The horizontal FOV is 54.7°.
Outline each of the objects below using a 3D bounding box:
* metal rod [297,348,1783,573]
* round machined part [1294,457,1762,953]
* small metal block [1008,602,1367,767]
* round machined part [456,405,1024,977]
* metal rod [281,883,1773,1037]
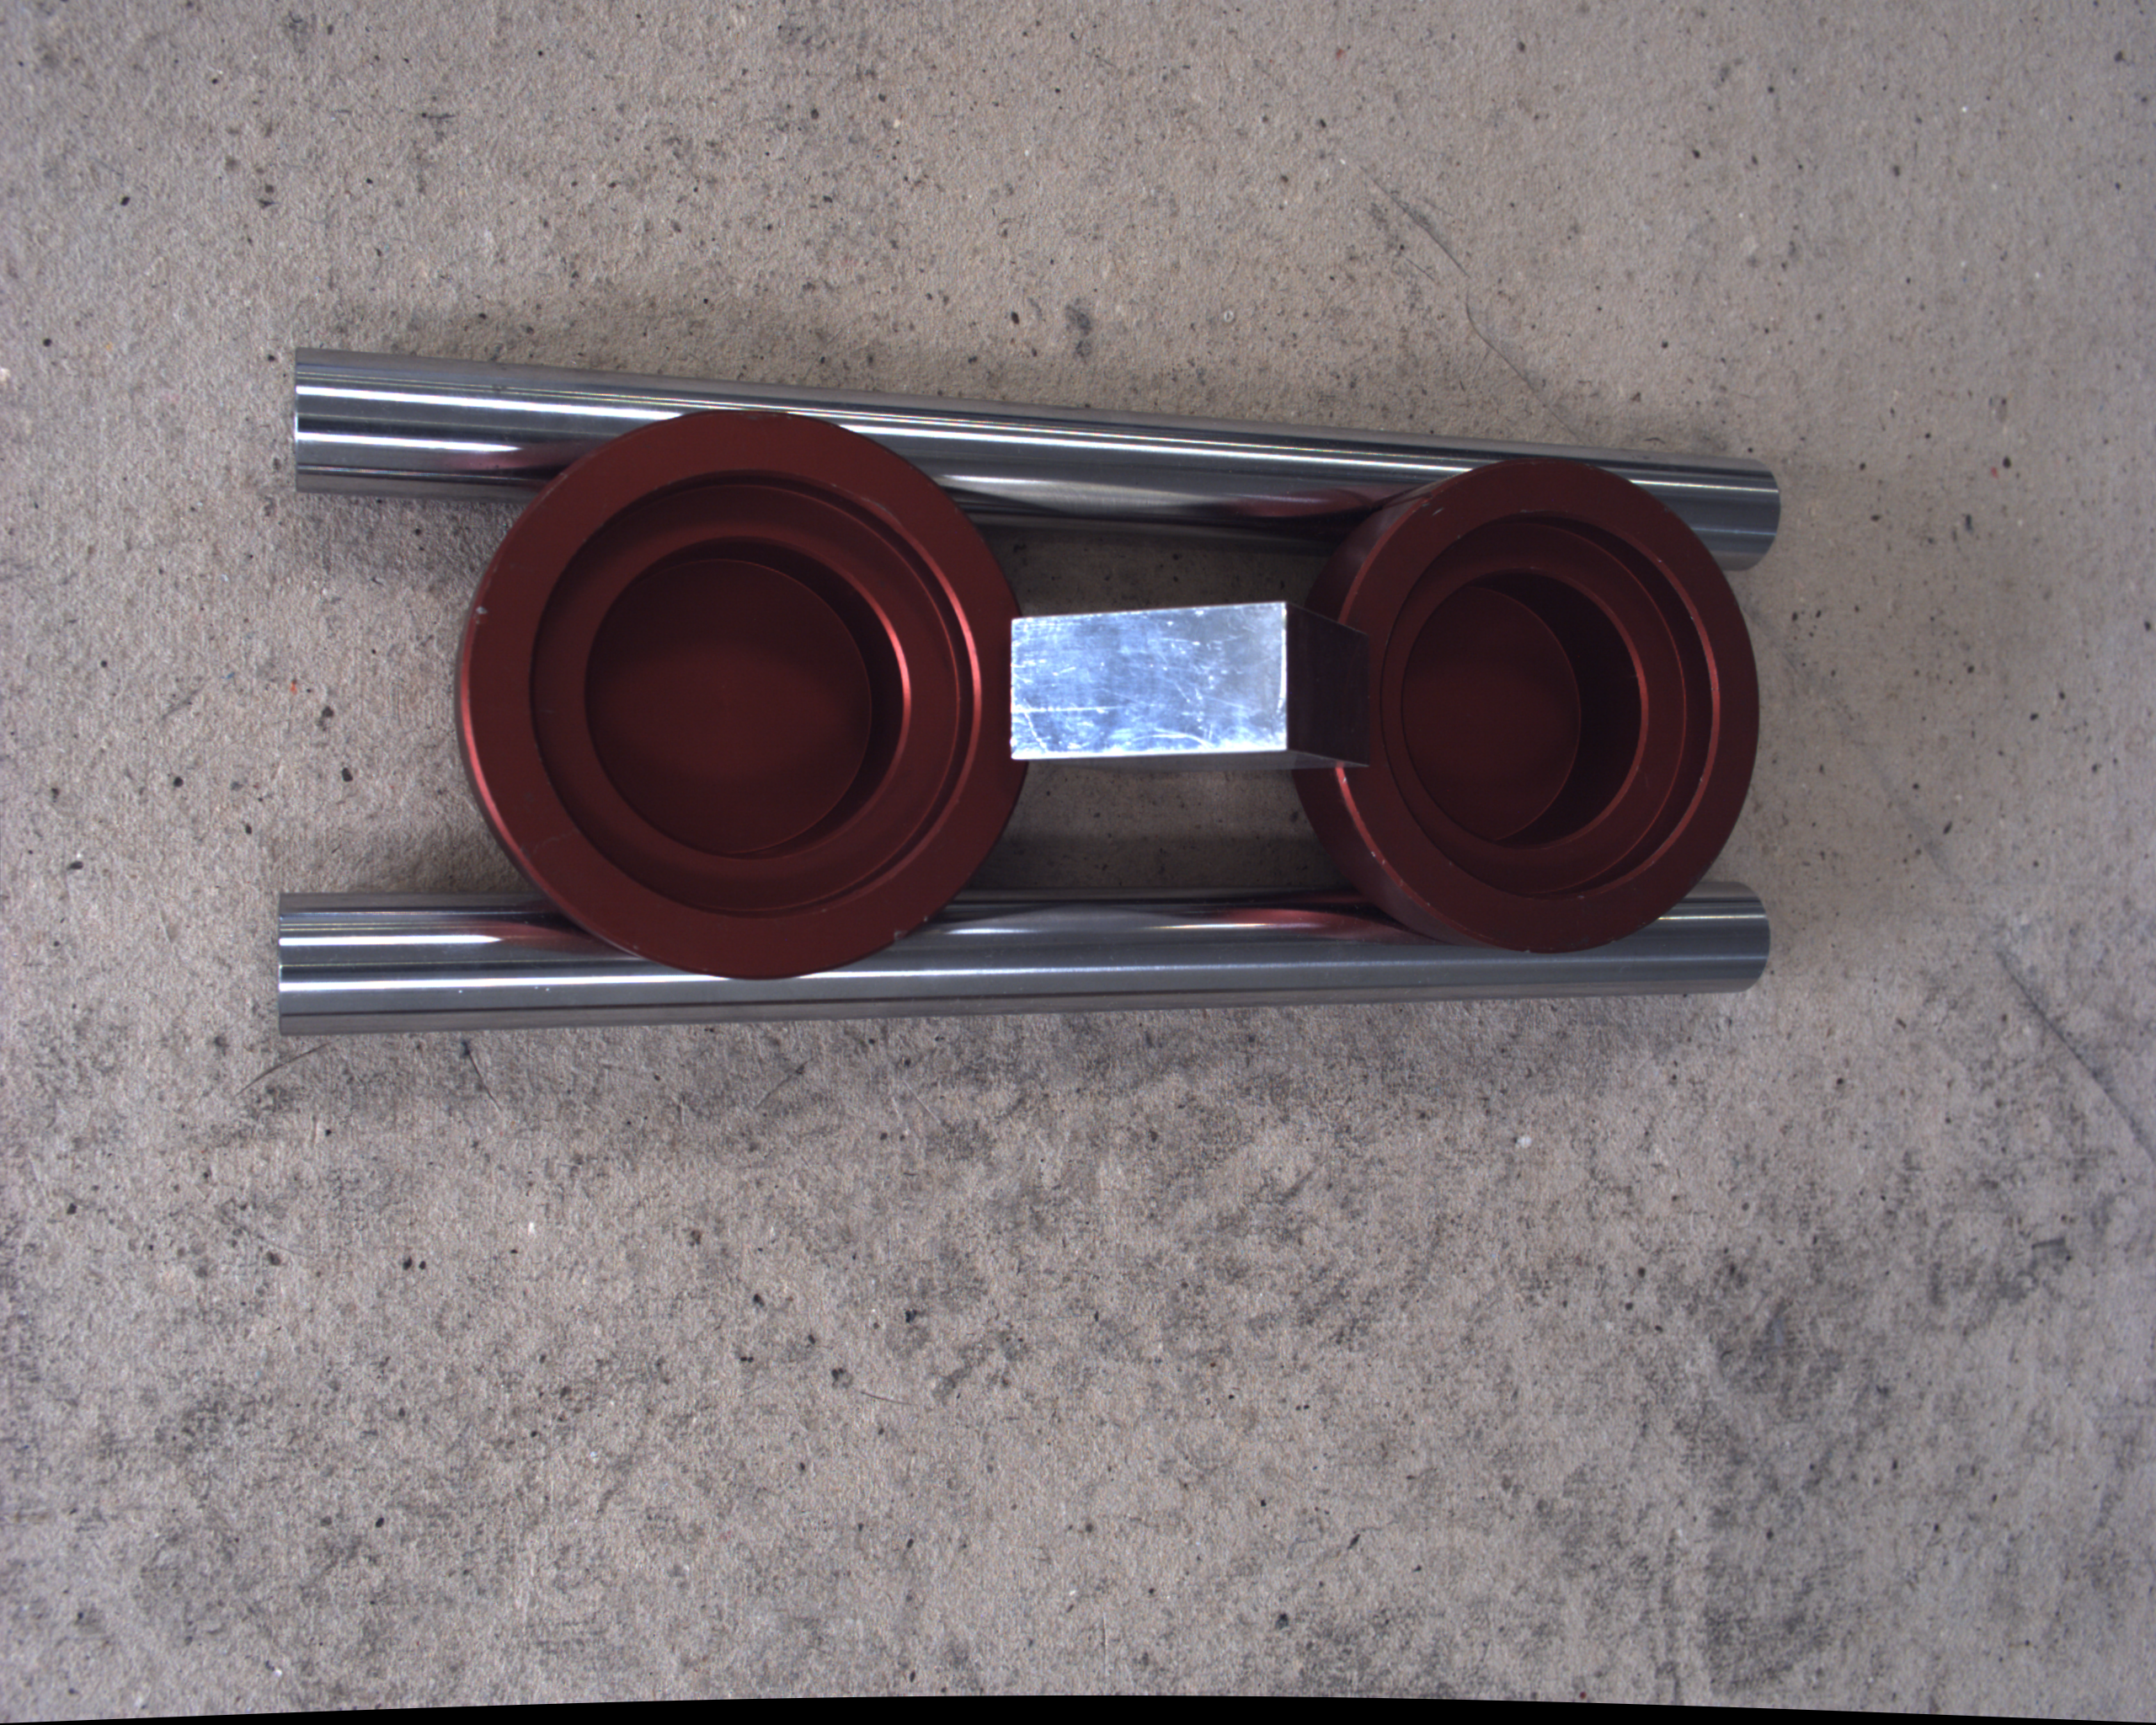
[{"bbox_3d":[0.007,-0.076,0.412,0.302,0.025,0.025,0,90,-20],"label":"metal rod"},{"bbox_3d":[0.087,-0.031,0.428,0.099,0.042,0.097,0,90,-20],"label":"round machined part"},{"bbox_3d":[0.021,-0.030,0.377,0.050,0.050,0.025,0,90,23],"label":"small metal block"},{"bbox_3d":[-0.061,-0.029,0.374,0.099,0.042,0.097,0,90,-20],"label":"round machined part"},{"bbox_3d":[0.005,0.017,0.412,0.302,0.025,0.025,0,90,-20],"label":"metal rod"}]
